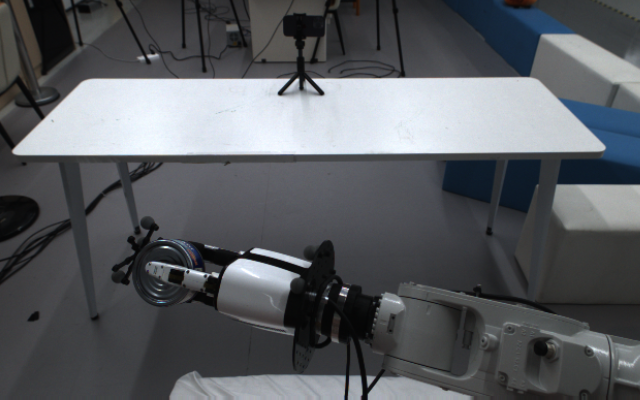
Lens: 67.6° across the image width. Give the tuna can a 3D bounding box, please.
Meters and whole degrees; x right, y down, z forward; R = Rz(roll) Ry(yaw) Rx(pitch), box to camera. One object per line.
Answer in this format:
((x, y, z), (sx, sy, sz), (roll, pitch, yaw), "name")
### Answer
((-0.190, 0.096, 0.612), (0.085, 0.085, 0.034), (9, -3, 10), "tuna can")
